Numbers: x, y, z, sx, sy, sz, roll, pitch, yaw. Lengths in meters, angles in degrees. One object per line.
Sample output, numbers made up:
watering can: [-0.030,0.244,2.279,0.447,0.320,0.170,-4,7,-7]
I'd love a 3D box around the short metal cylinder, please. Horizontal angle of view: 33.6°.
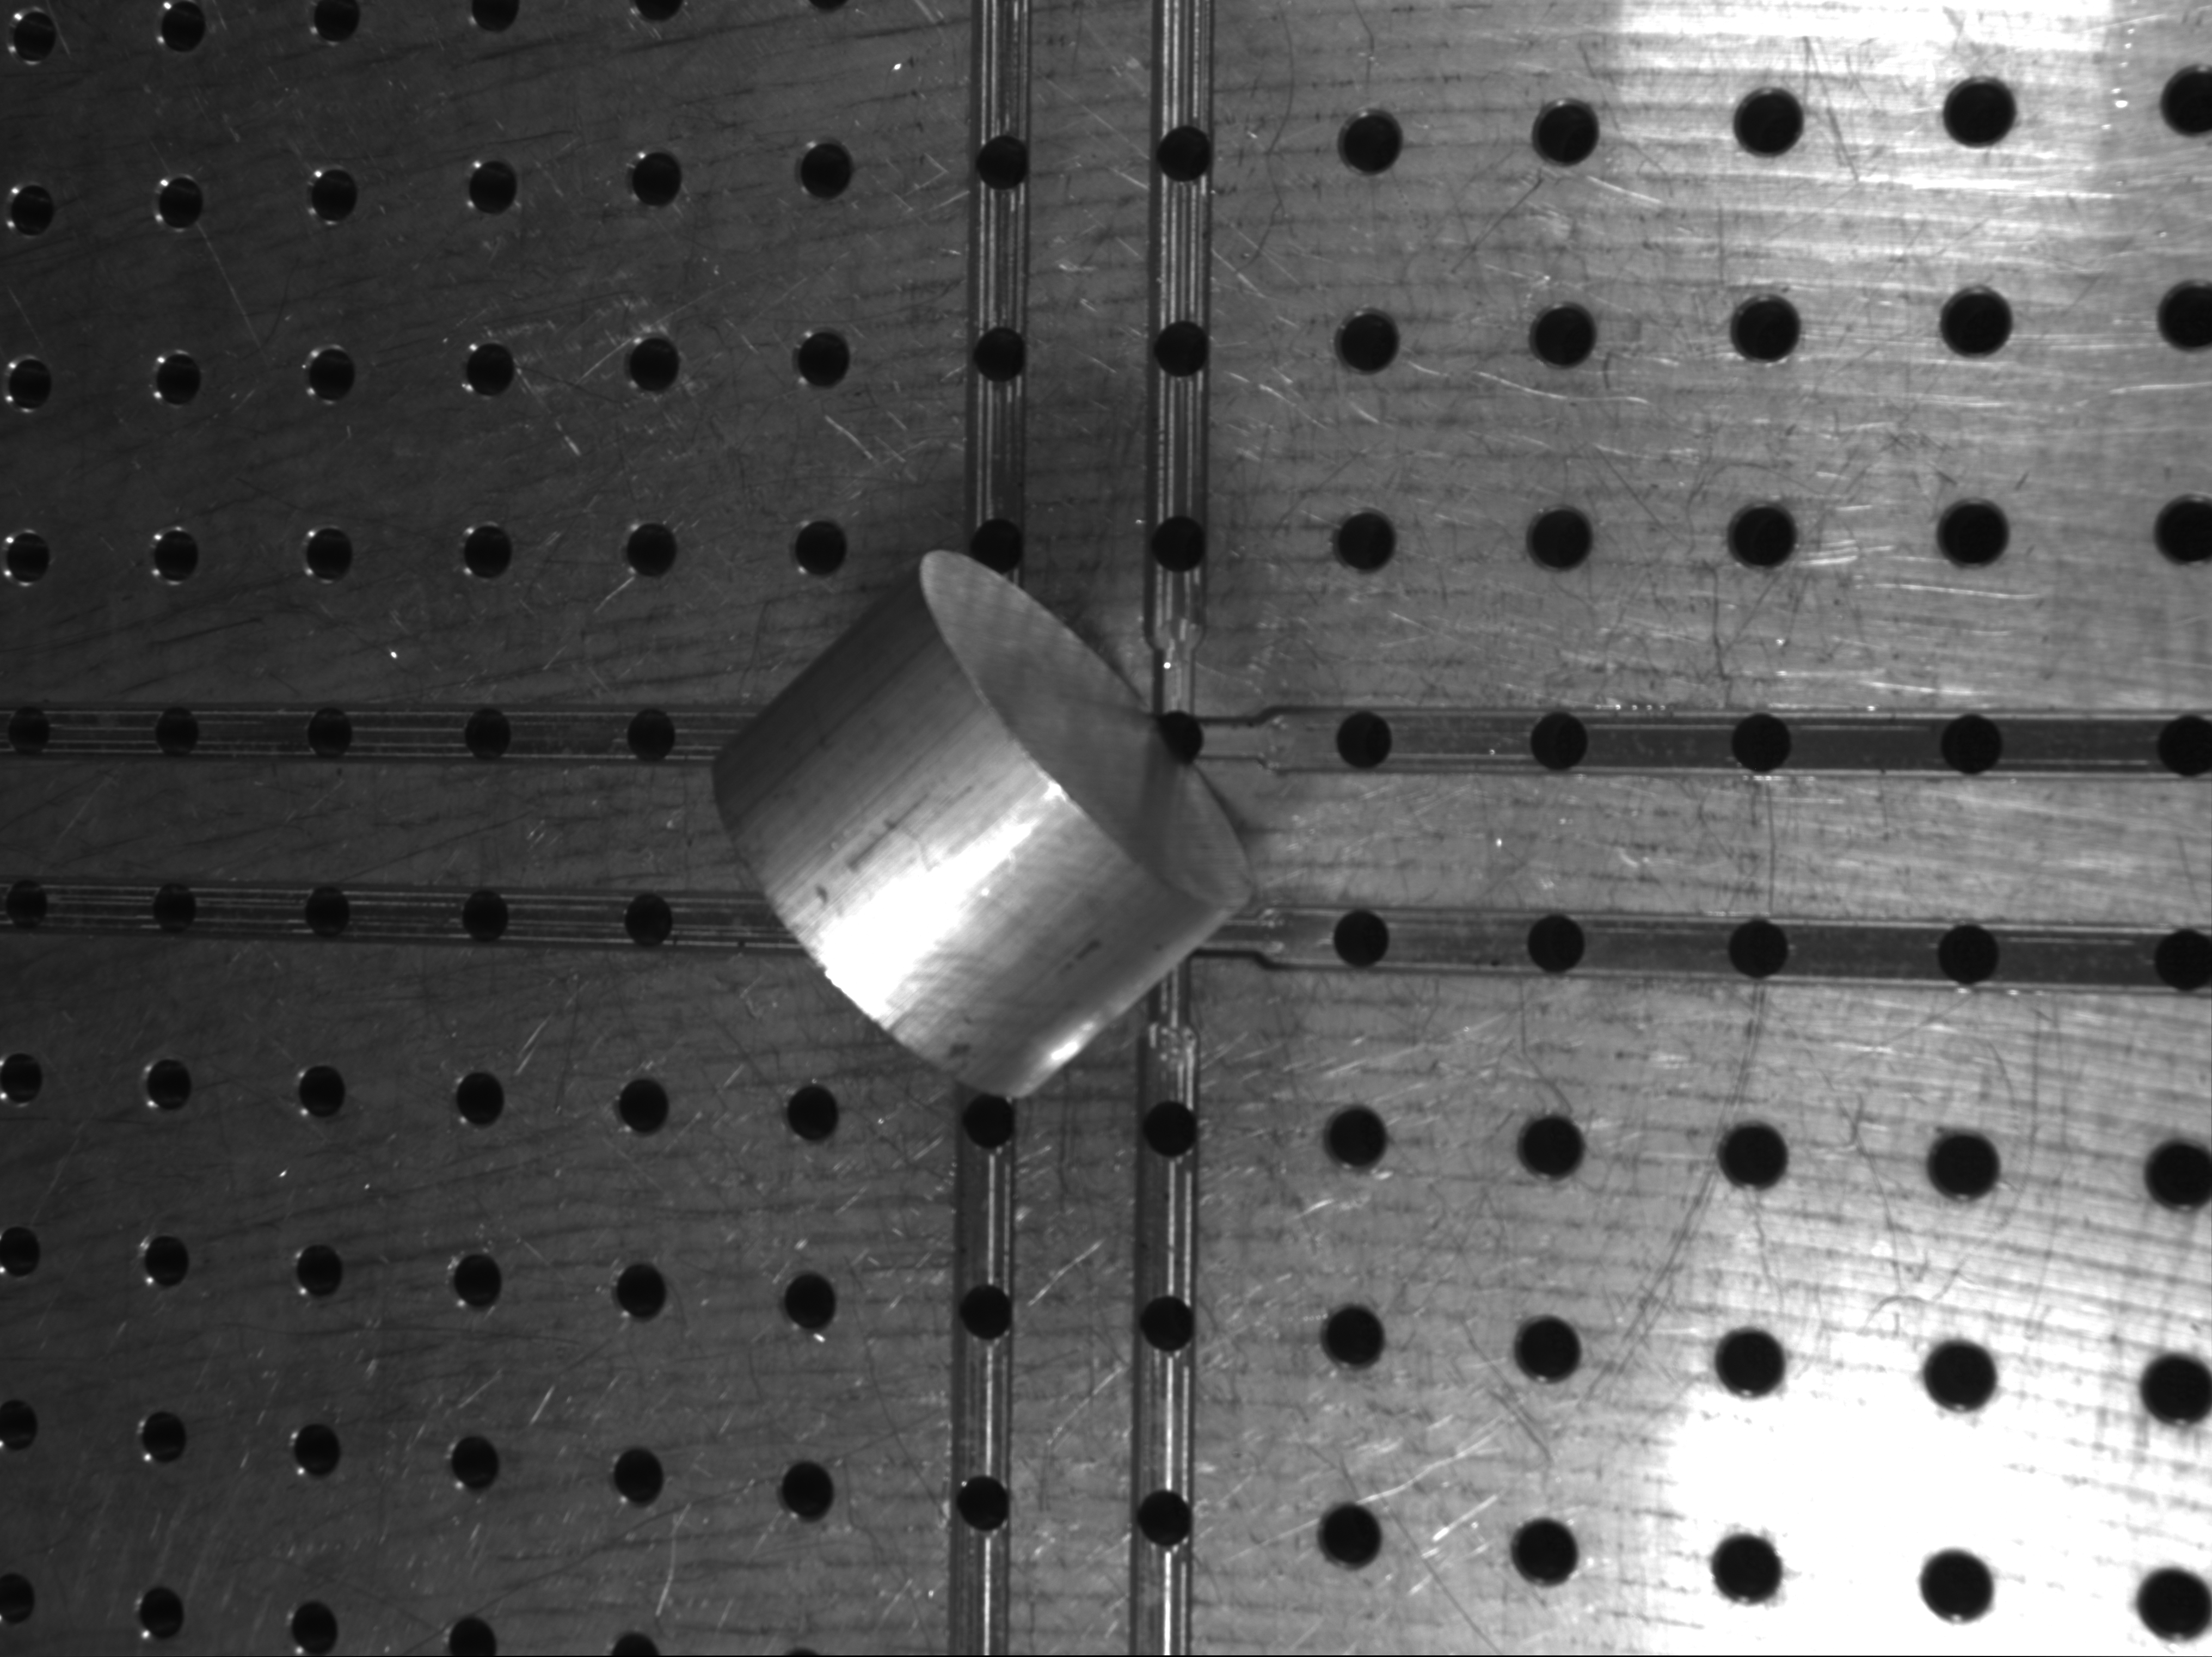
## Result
short metal cylinder: [-0.020,-0.001,0.624,0.050,0.080,0.080,-42,77,15]
